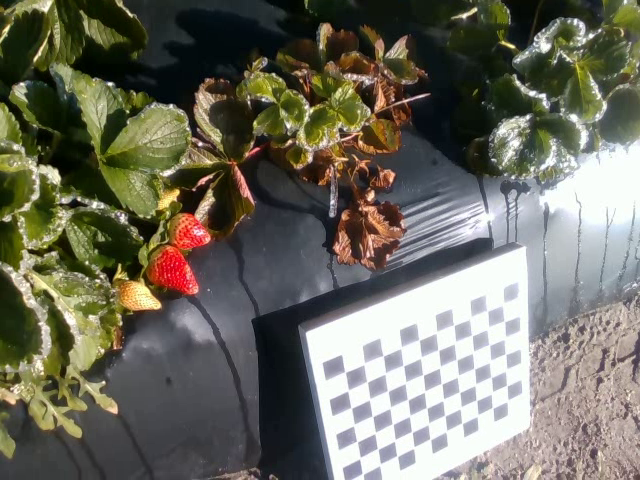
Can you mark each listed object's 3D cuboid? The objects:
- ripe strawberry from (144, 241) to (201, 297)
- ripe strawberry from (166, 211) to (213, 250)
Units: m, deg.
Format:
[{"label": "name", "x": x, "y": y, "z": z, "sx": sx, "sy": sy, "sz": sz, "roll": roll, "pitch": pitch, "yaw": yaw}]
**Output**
[{"label": "ripe strawberry", "x": -0.121, "y": 0.031, "z": 0.528, "sx": 0.051, "sy": 0.037, "sz": 0.040, "roll": 36, "pitch": -2, "yaw": 5}, {"label": "ripe strawberry", "x": -0.112, "y": -0.006, "z": 0.540, "sx": 0.041, "sy": 0.036, "sz": 0.030, "roll": 11, "pitch": 13, "yaw": -25}]
